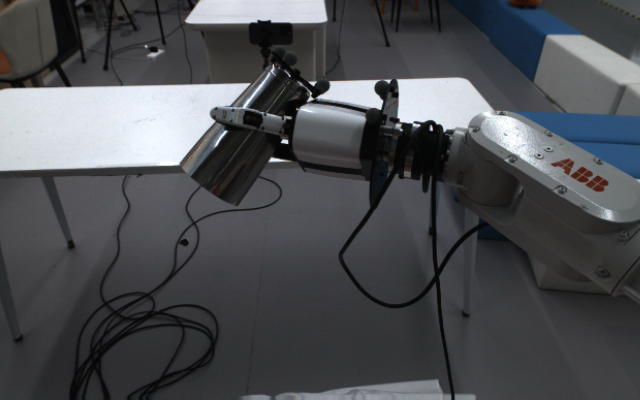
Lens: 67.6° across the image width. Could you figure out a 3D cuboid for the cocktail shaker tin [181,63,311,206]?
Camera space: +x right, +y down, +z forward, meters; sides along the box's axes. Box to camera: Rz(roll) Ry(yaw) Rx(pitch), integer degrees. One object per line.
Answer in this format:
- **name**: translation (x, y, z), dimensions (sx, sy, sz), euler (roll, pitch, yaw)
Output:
- **cocktail shaker tin**: translation (-0.089, -0.090, 0.620), dimensions (0.170, 0.093, 0.093), euler (-50, 46, 4)
